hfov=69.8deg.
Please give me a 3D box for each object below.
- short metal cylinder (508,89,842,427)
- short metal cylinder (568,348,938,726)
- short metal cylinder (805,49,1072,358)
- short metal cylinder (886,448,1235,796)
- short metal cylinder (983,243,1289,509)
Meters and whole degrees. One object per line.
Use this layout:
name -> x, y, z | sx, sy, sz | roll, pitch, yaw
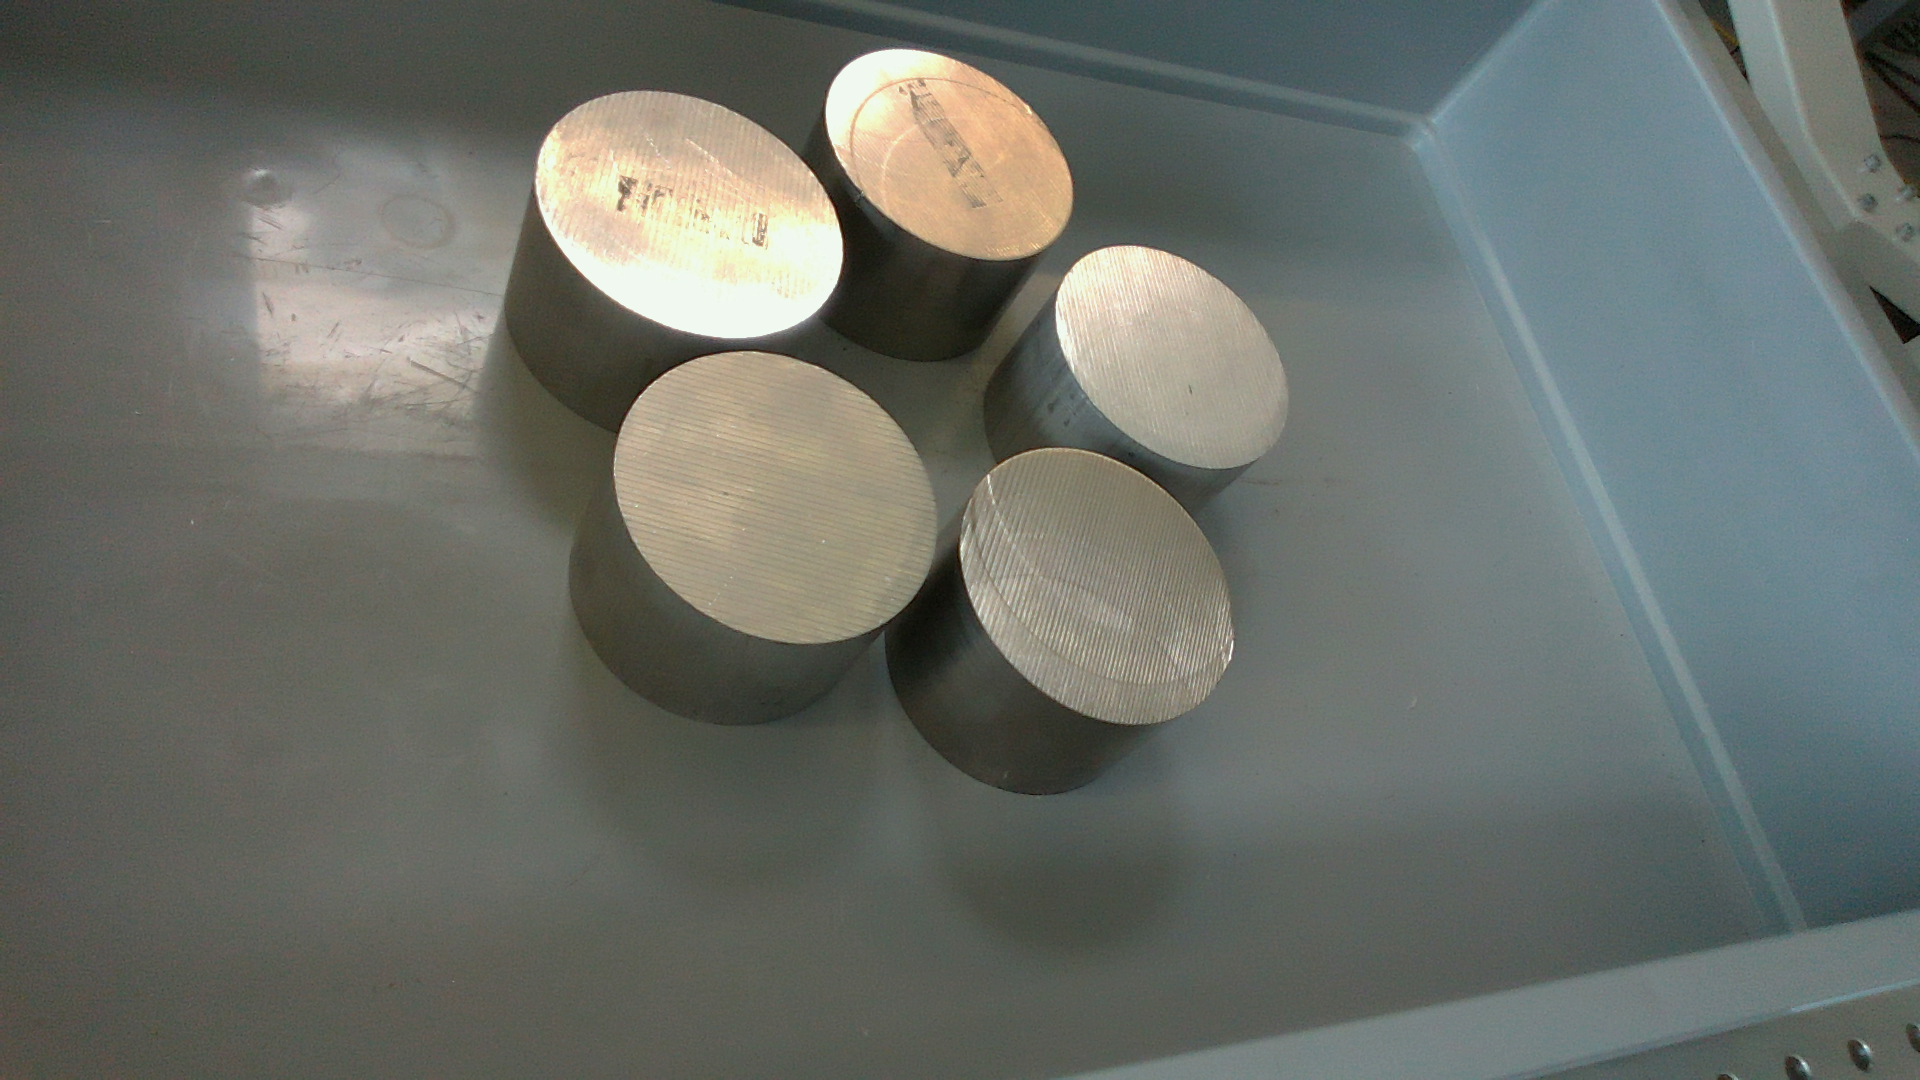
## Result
short metal cylinder -> -0.078, -0.074, 0.375 | 0.080, 0.050, 0.080 | 14, 56, -21
short metal cylinder -> -0.052, 0.000, 0.344 | 0.080, 0.050, 0.080 | 14, 56, -21
short metal cylinder -> -0.012, -0.104, 0.429 | 0.080, 0.050, 0.080 | 14, 56, -21
short metal cylinder -> 0.026, 0.022, 0.372 | 0.080, 0.050, 0.080 | 14, 56, -21
short metal cylinder -> 0.054, -0.044, 0.428 | 0.080, 0.050, 0.080 | 14, 56, -21
